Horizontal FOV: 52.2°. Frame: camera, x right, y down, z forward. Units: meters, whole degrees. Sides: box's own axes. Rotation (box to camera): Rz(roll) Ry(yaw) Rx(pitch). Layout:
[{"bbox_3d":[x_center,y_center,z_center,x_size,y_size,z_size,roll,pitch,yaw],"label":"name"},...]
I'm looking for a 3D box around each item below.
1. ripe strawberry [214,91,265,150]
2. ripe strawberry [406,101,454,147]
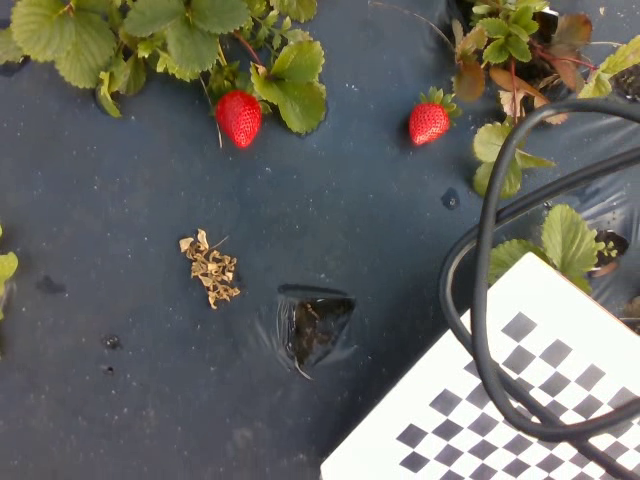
[{"bbox_3d":[-0.065,-0.090,0.513,0.050,0.050,0.046,32,-51,-31],"label":"ripe strawberry"},{"bbox_3d":[0.088,-0.093,0.549,0.041,0.052,0.045,6,-39,39],"label":"ripe strawberry"}]
